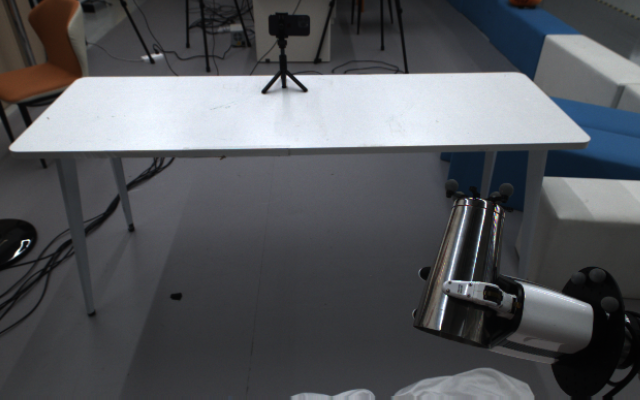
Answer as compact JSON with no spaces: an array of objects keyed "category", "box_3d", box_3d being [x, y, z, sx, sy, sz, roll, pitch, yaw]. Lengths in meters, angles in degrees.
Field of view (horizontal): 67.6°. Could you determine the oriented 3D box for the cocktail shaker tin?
[{"category":"cocktail shaker tin","box_3d":[0.183,0.088,0.607,0.093,0.093,0.170,13,74,15]}]
